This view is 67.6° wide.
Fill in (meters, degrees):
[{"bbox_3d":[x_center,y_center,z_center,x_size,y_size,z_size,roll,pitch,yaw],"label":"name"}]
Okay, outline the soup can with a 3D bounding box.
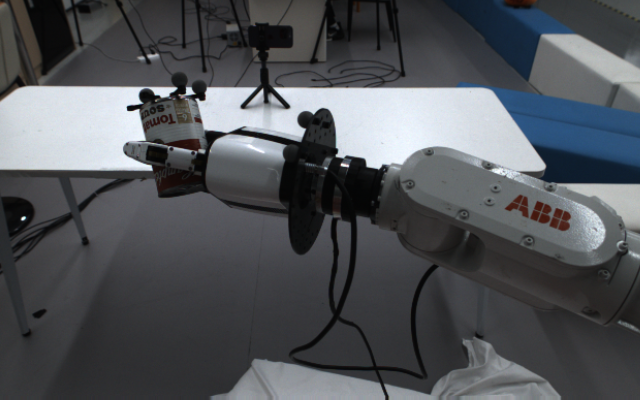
[{"bbox_3d":[-0.162,-0.058,0.557,0.067,0.101,0.067,-14,-2,-1],"label":"soup can"}]
